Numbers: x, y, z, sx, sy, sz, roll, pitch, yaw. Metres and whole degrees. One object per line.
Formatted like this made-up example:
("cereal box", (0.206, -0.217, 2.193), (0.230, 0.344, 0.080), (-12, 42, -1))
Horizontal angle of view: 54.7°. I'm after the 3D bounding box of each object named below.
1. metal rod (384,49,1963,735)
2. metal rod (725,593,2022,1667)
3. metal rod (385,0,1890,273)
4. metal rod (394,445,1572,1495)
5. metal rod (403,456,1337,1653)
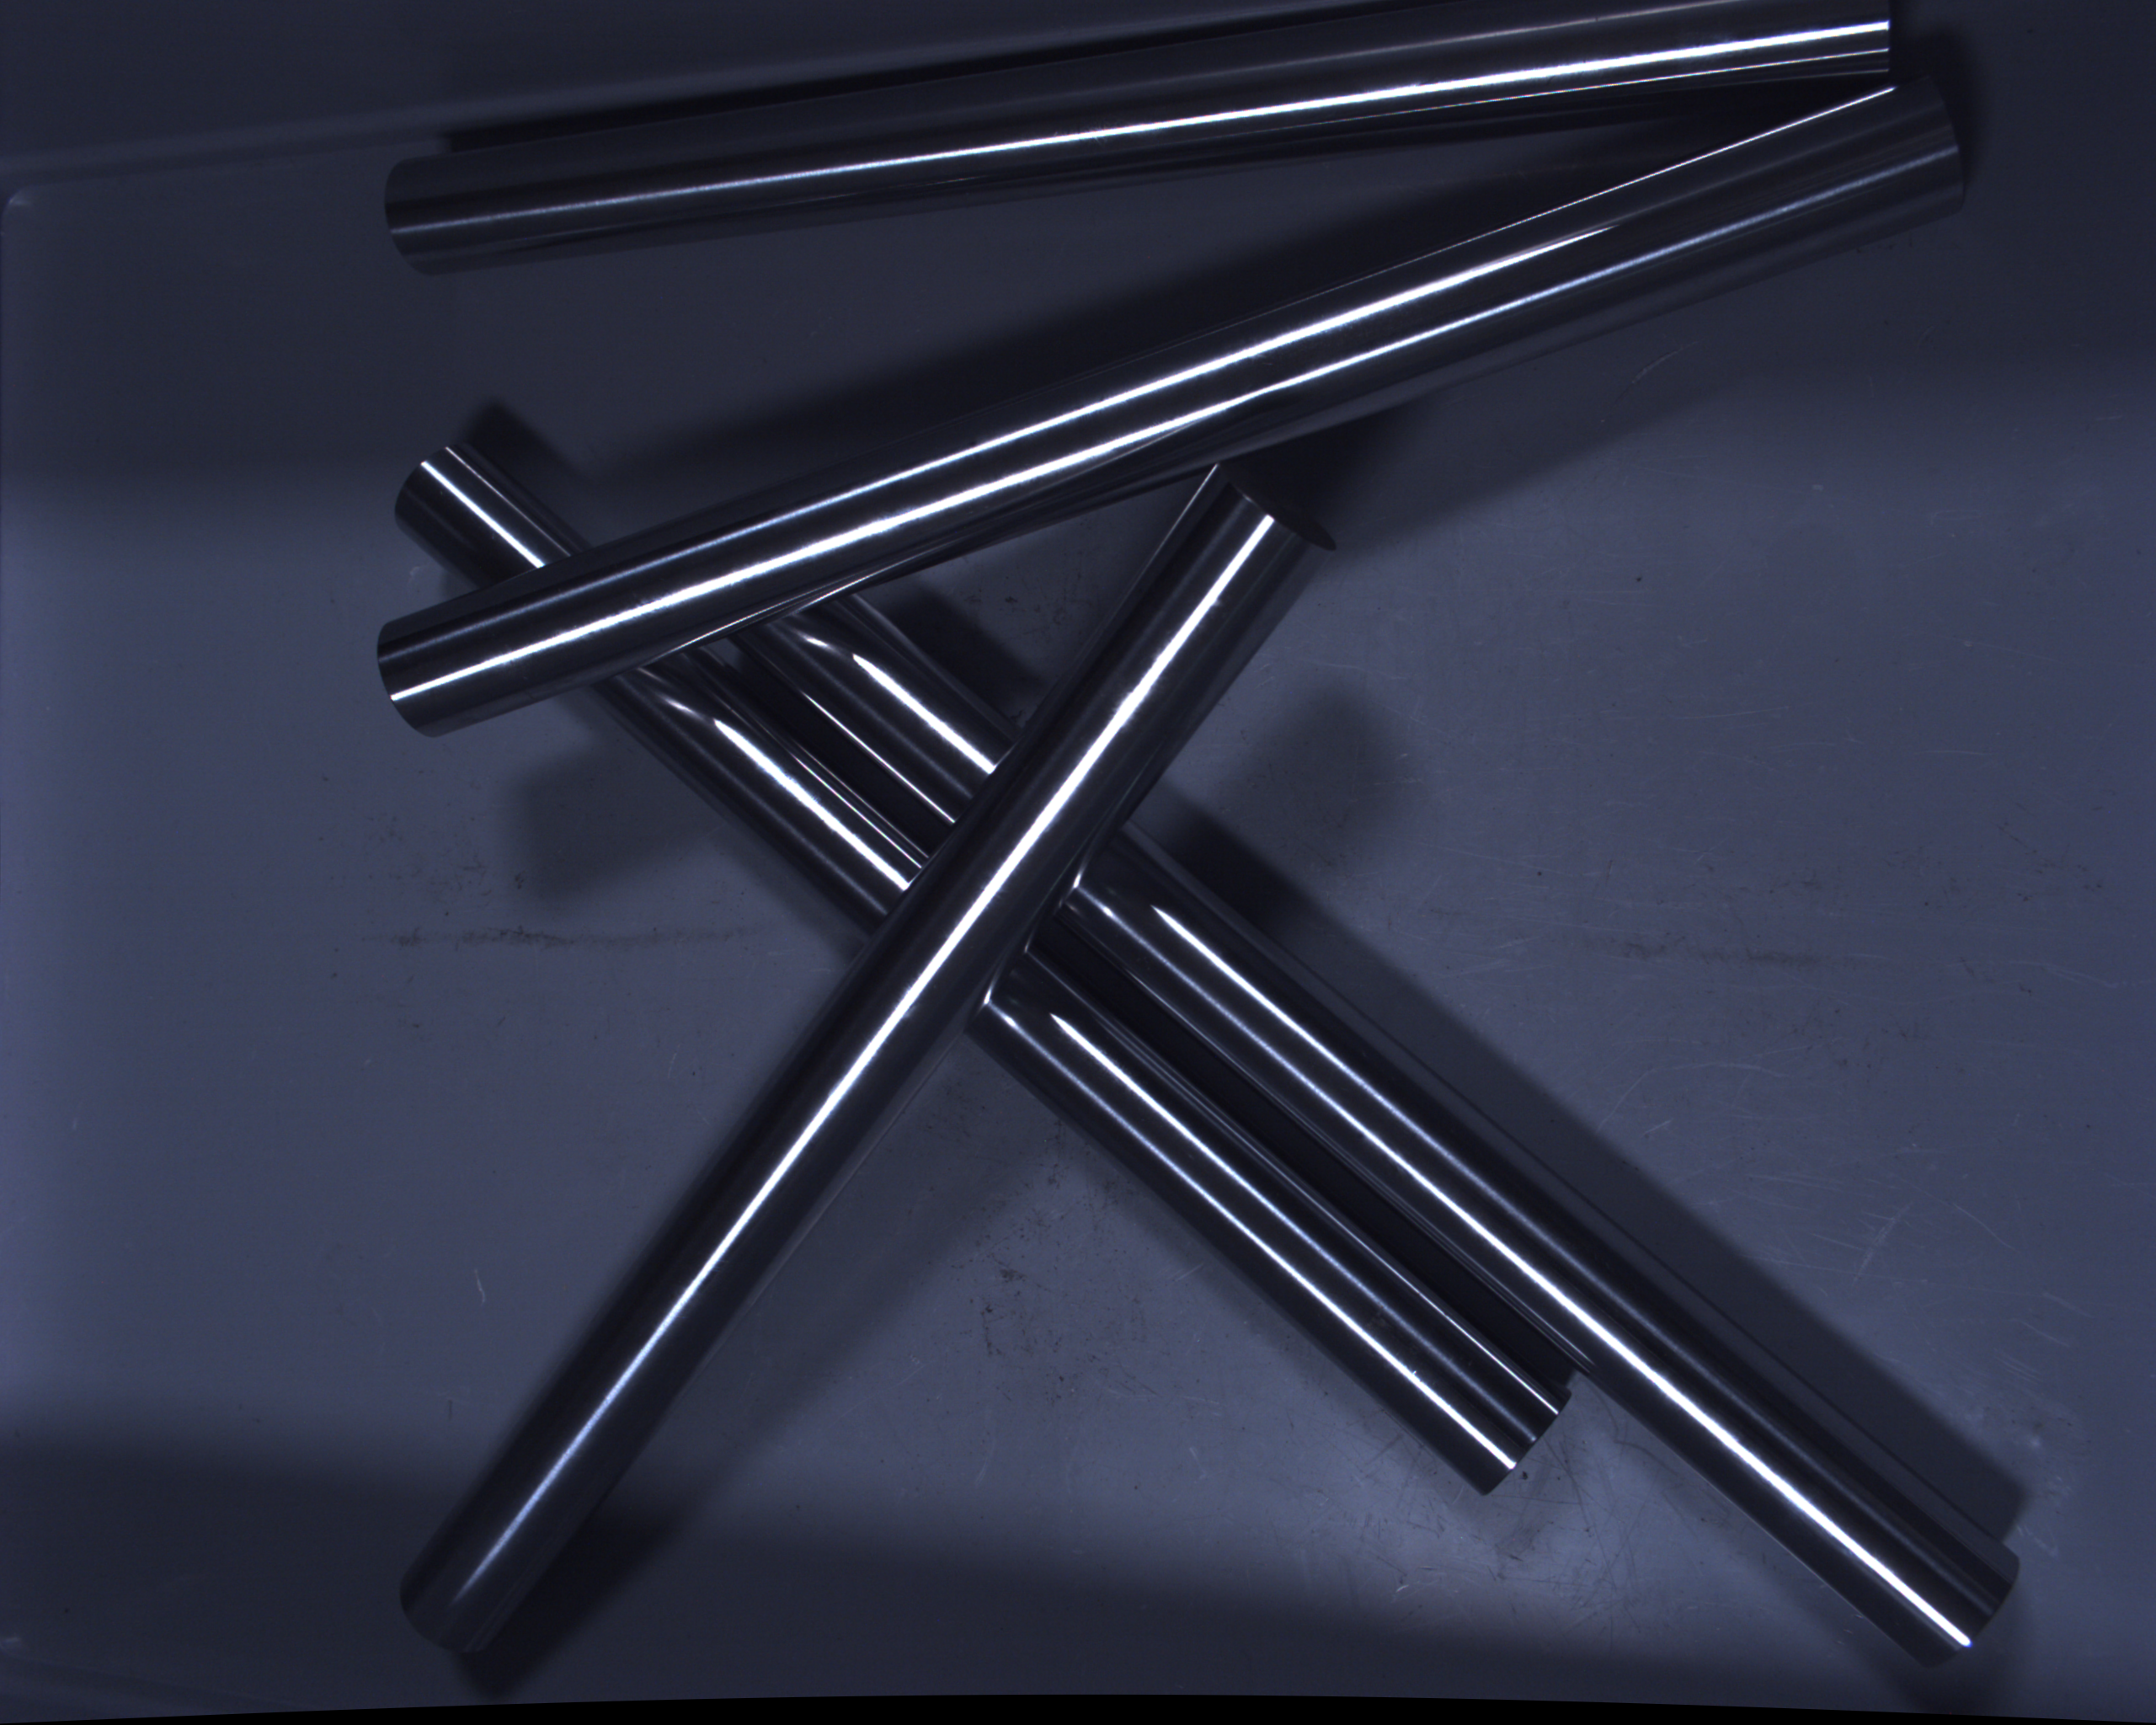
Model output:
("metal rod", (0.007, -0.082, 0.390), (0.301, 0.025, 0.025), (-18, 84, 12))
("metal rod", (0.042, 0.034, 0.394), (0.300, 0.025, 0.025), (40, 103, 15))
("metal rod", (-0.002, -0.145, 0.410), (0.301, 0.025, 0.025), (-1, 90, 19))
("metal rod", (-0.029, 0.012, 0.419), (0.300, 0.025, 0.025), (40, 103, 15))
("metal rod", (-0.051, 0.050, 0.405), (0.025, 0.025, 0.299), (43, 111, 14))
